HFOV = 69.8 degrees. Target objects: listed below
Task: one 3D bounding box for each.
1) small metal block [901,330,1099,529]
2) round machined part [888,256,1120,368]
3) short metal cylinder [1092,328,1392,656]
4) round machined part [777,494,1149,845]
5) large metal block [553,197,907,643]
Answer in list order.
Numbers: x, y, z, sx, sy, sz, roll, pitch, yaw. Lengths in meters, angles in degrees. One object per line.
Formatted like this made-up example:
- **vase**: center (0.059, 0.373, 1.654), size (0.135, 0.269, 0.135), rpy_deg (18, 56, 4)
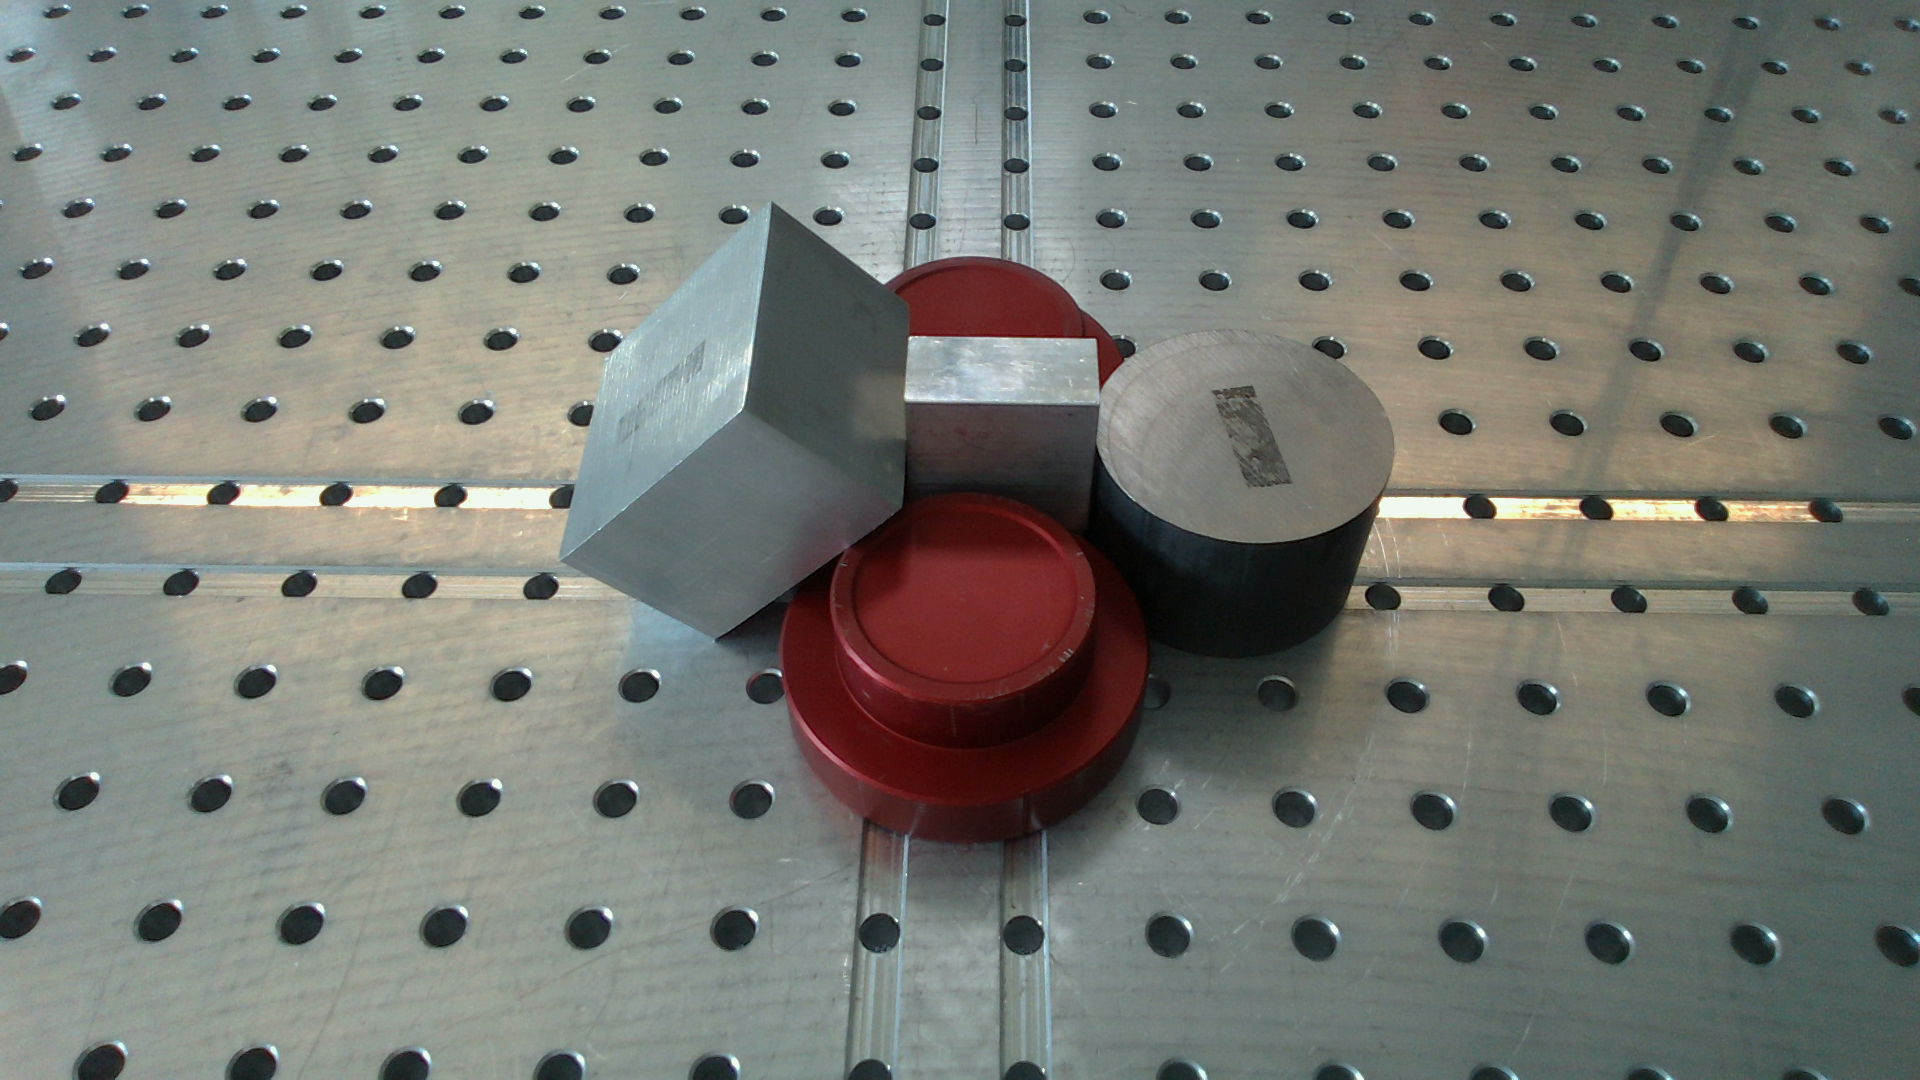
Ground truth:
- **small metal block**: center (0.011, -0.029, 0.374), size (0.050, 0.050, 0.025), rpy_deg (1, 50, 1)
- **round machined part**: center (0.003, -0.051, 0.426), size (0.098, 0.042, 0.098), rpy_deg (0, 50, 0)
- **short metal cylinder**: center (0.076, -0.014, 0.389), size (0.080, 0.050, 0.080), rpy_deg (0, 50, 0)
- **round machined part**: center (0.001, 0.026, 0.361), size (0.098, 0.042, 0.098), rpy_deg (0, 50, 0)
- **large metal block**: center (-0.061, -0.031, 0.378), size (0.050, 0.080, 0.080), rpy_deg (32, 40, -32)
